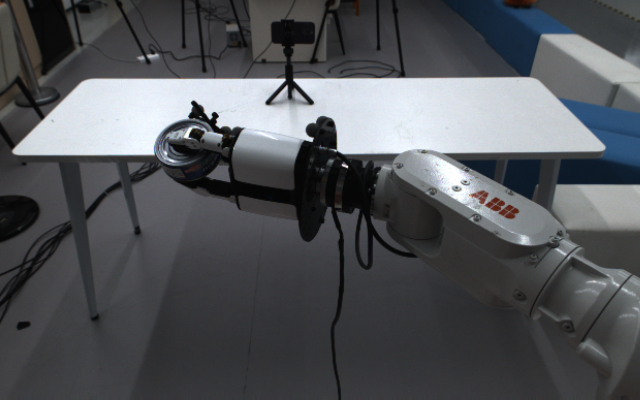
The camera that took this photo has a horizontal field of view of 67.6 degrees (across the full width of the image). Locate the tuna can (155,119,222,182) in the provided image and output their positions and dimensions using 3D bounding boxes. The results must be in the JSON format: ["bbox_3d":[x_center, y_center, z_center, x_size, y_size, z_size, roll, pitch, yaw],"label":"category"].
[{"bbox_3d":[-0.179,-0.069,0.661,0.085,0.034,0.085,-4,58,6],"label":"tuna can"}]
